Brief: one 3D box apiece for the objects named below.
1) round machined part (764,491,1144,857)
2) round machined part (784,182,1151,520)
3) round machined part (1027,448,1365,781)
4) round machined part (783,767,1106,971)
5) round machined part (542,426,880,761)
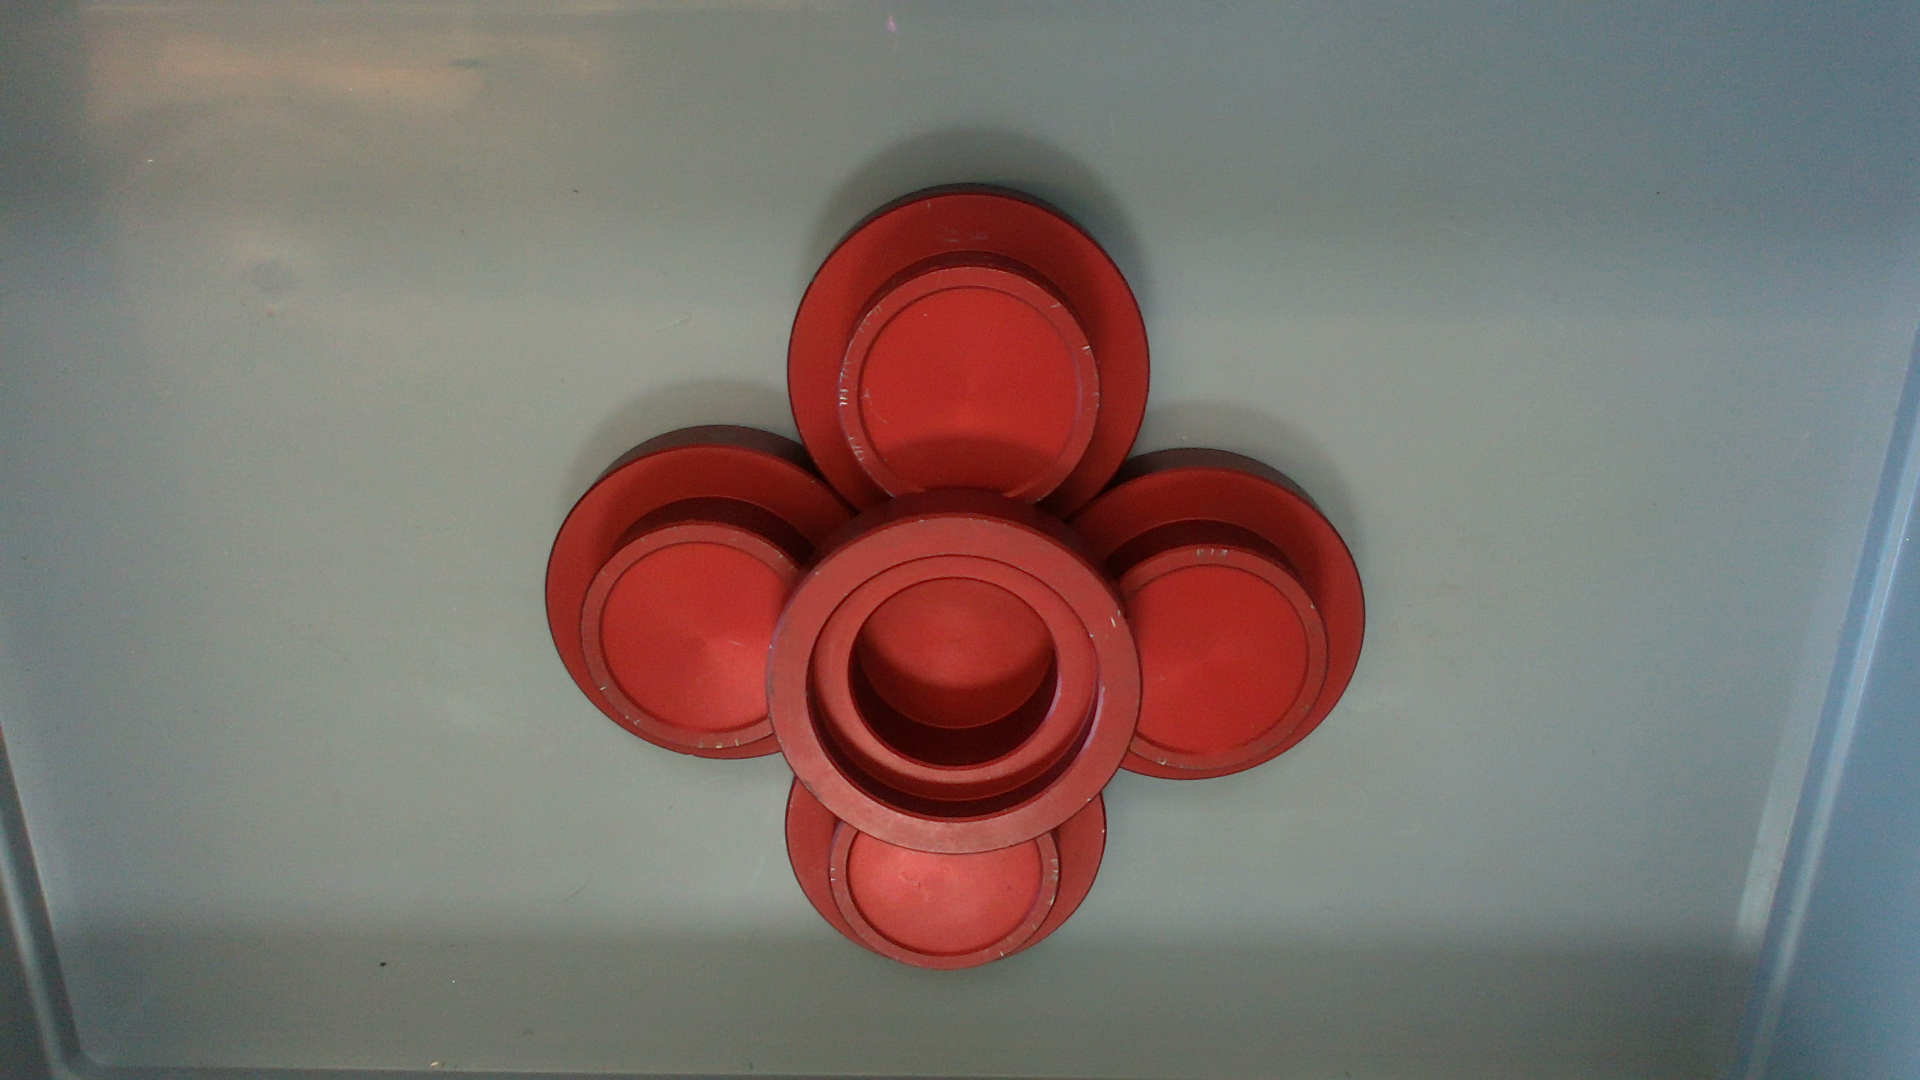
[{"bbox_3d":[-0.001,0.033,0.373,0.098,0.042,0.098,0,110,0],"label":"round machined part"},{"bbox_3d":[0.002,-0.043,0.366,0.098,0.042,0.098,0,110,0],"label":"round machined part"},{"bbox_3d":[0.067,0.026,0.393,0.098,0.042,0.098,0,110,0],"label":"round machined part"},{"bbox_3d":[-0.004,0.089,0.416,0.098,0.042,0.098,0,109,-1],"label":"round machined part"},{"bbox_3d":[-0.069,0.020,0.390,0.098,0.042,0.098,0,110,0],"label":"round machined part"}]
